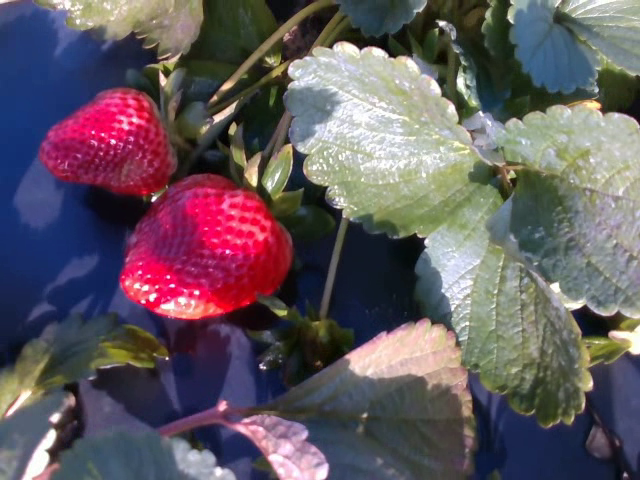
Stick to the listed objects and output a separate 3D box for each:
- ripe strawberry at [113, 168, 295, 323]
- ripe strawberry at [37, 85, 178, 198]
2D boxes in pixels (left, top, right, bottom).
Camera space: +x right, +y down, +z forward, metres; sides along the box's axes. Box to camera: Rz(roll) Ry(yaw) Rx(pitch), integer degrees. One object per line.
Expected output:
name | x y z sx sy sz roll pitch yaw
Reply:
ripe strawberry | -0.038 0.006 0.187 0.052 0.046 0.057 19 42 34
ripe strawberry | -0.074 -0.032 0.206 0.043 0.037 0.052 8 38 34
